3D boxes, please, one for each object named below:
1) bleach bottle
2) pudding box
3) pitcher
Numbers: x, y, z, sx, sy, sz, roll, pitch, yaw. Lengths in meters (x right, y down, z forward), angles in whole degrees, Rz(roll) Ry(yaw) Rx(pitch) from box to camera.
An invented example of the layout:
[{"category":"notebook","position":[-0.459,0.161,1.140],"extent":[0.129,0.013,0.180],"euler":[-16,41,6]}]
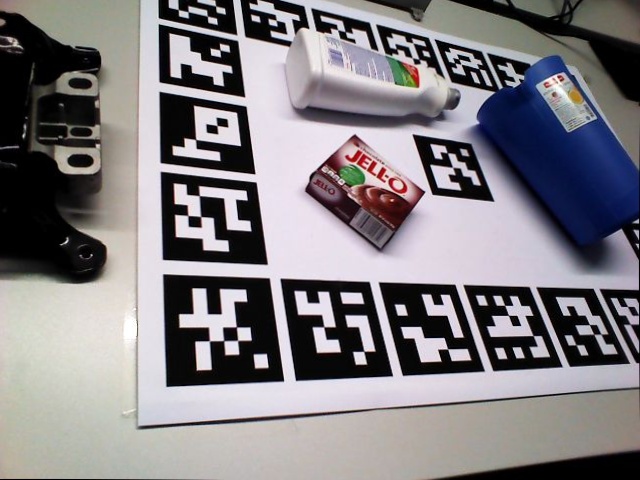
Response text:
[{"category":"bleach bottle","position":[0.088,-0.201,0.682],"extent":[0.250,0.068,0.102],"euler":[2,64,-27]},{"category":"pudding box","position":[0.058,-0.051,0.581],"extent":[0.114,0.039,0.089],"euler":[43,46,2]},{"category":"pitcher","position":[0.348,-0.100,0.721],"extent":[0.242,0.134,0.188],"euler":[61,21,12]}]
